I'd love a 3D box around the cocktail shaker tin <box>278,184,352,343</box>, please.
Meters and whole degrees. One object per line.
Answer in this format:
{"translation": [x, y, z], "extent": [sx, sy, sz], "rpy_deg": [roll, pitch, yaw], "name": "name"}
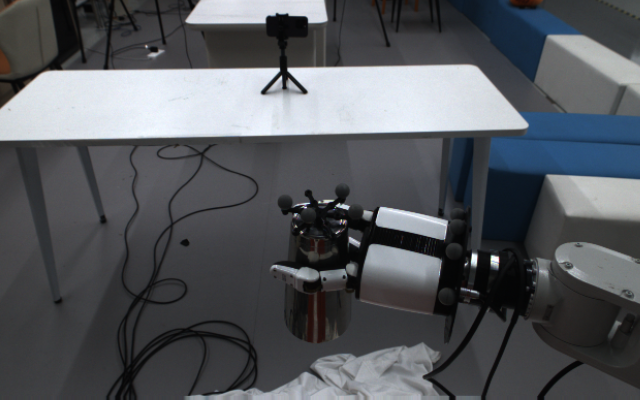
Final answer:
{"translation": [0.002, 0.086, 0.606], "extent": [0.093, 0.170, 0.093], "rpy_deg": [1, 39, -1], "name": "cocktail shaker tin"}
